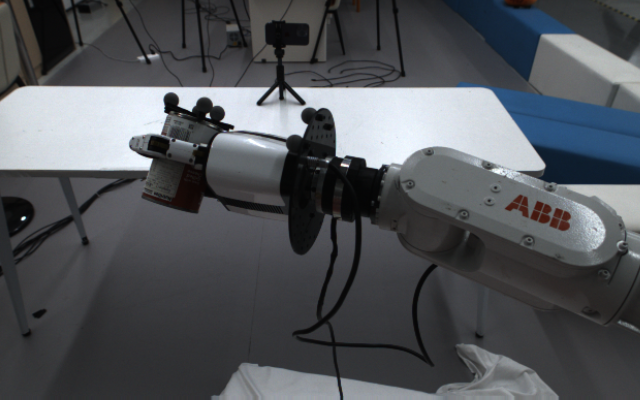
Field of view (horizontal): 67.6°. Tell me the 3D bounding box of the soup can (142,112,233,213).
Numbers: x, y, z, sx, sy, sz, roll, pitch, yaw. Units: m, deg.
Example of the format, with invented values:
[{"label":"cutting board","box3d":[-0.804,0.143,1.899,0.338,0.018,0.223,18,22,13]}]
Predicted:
[{"label":"soup can","box3d":[-0.156,-0.041,0.557,0.067,0.101,0.067,17,-1,0]}]
